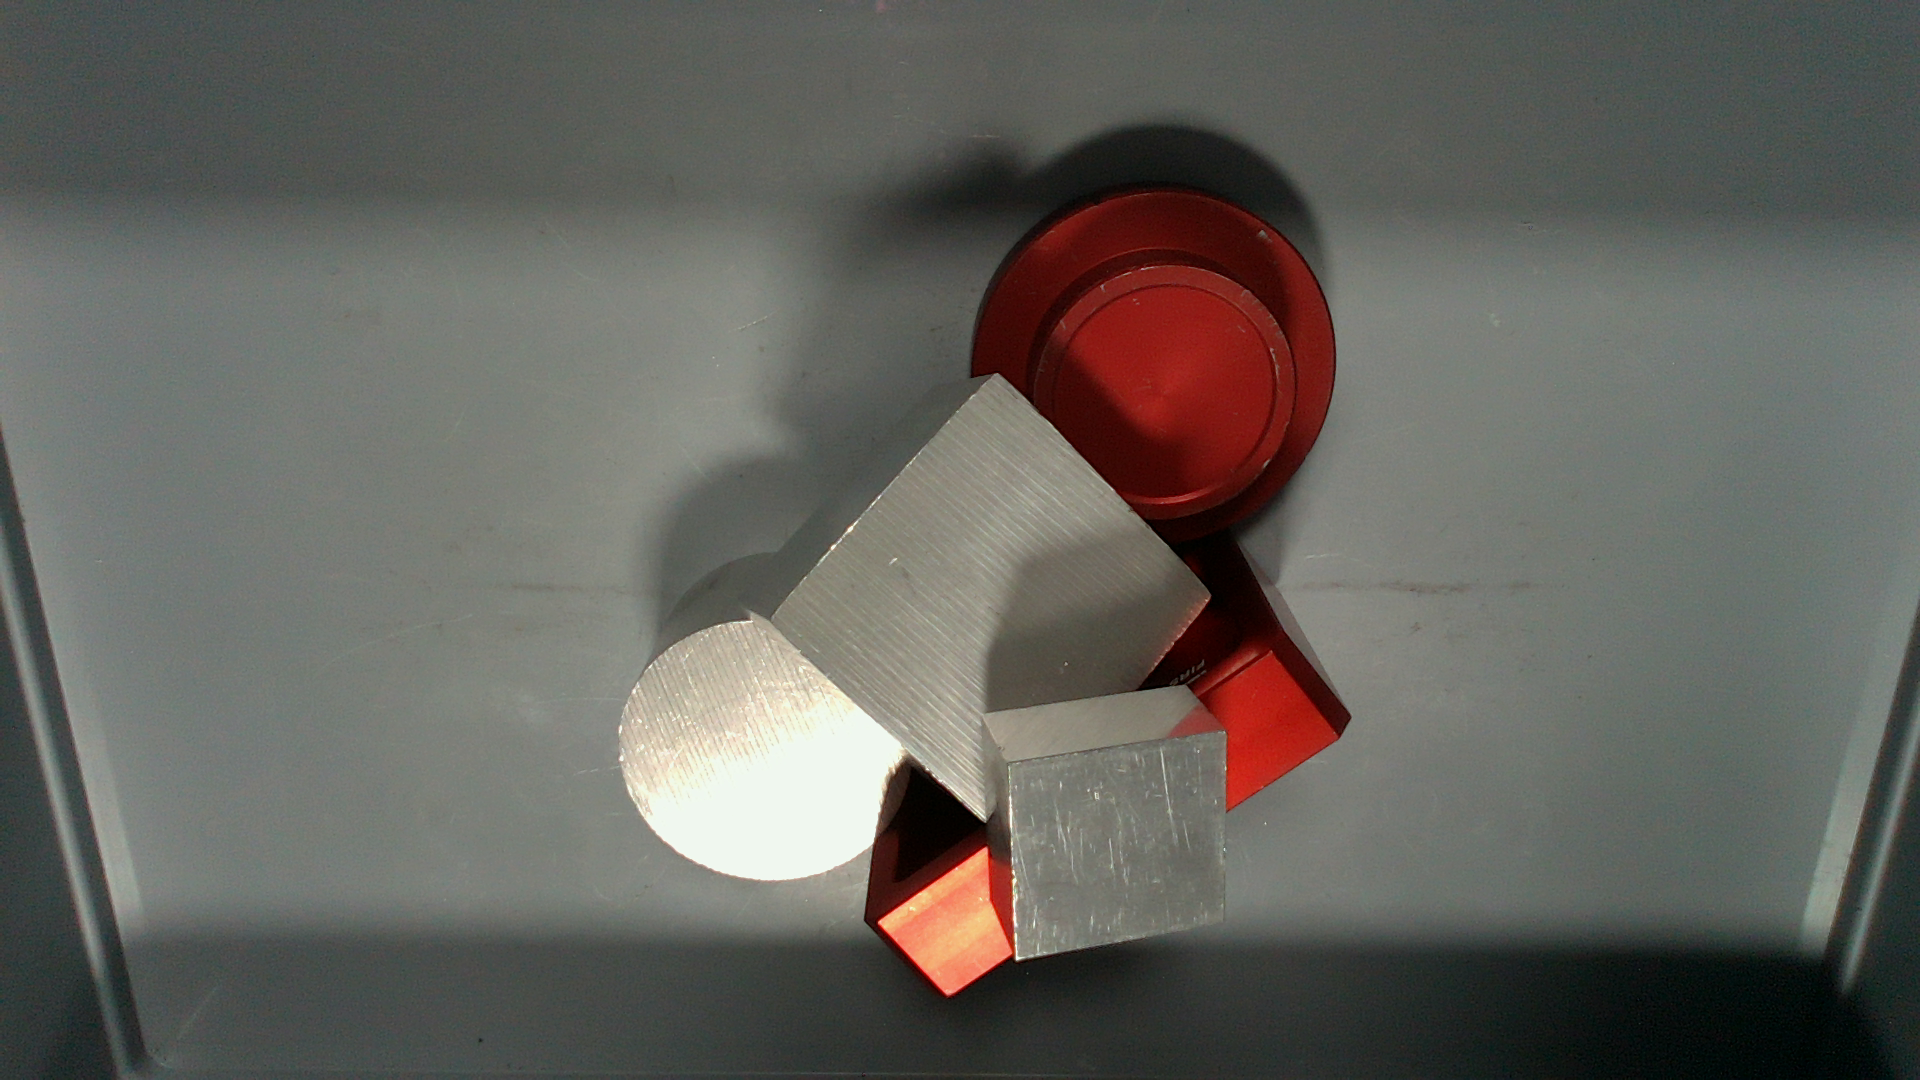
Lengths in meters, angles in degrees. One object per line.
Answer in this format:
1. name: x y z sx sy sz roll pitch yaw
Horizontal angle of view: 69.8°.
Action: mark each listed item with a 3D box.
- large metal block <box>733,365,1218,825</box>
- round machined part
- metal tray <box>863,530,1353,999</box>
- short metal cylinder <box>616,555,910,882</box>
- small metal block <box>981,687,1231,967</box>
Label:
1. large metal block: 0.002 0.015 0.347 0.080 0.050 0.080 45 80 -14
2. round machined part: 0.052 -0.044 0.367 0.098 0.042 0.098 0 110 0
3. metal tray: 0.035 0.057 0.379 0.130 0.090 0.030 -37 105 12
4. short metal cylinder: -0.053 0.050 0.397 0.080 0.050 0.080 0 110 0
5. small metal block: 0.033 0.065 0.315 0.050 0.025 0.050 -7 110 -12
